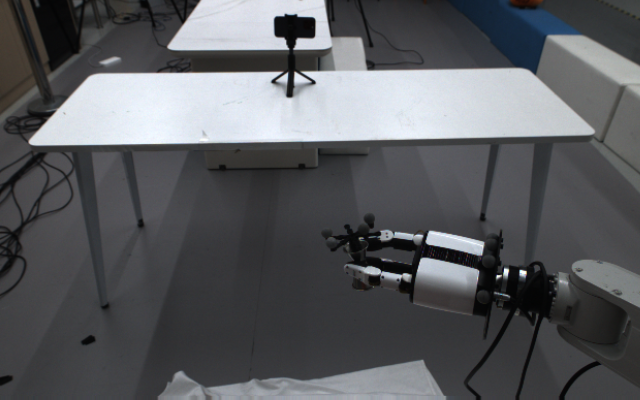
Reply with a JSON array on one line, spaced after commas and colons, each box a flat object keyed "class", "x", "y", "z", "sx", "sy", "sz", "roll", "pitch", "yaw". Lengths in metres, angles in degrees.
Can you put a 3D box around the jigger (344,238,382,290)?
[{"class": "jigger", "x": 0.064, "y": 0.099, "z": 0.748, "sx": 0.043, "sy": 0.071, "sz": 0.043, "roll": -14, "pitch": 21, "yaw": 6}]
